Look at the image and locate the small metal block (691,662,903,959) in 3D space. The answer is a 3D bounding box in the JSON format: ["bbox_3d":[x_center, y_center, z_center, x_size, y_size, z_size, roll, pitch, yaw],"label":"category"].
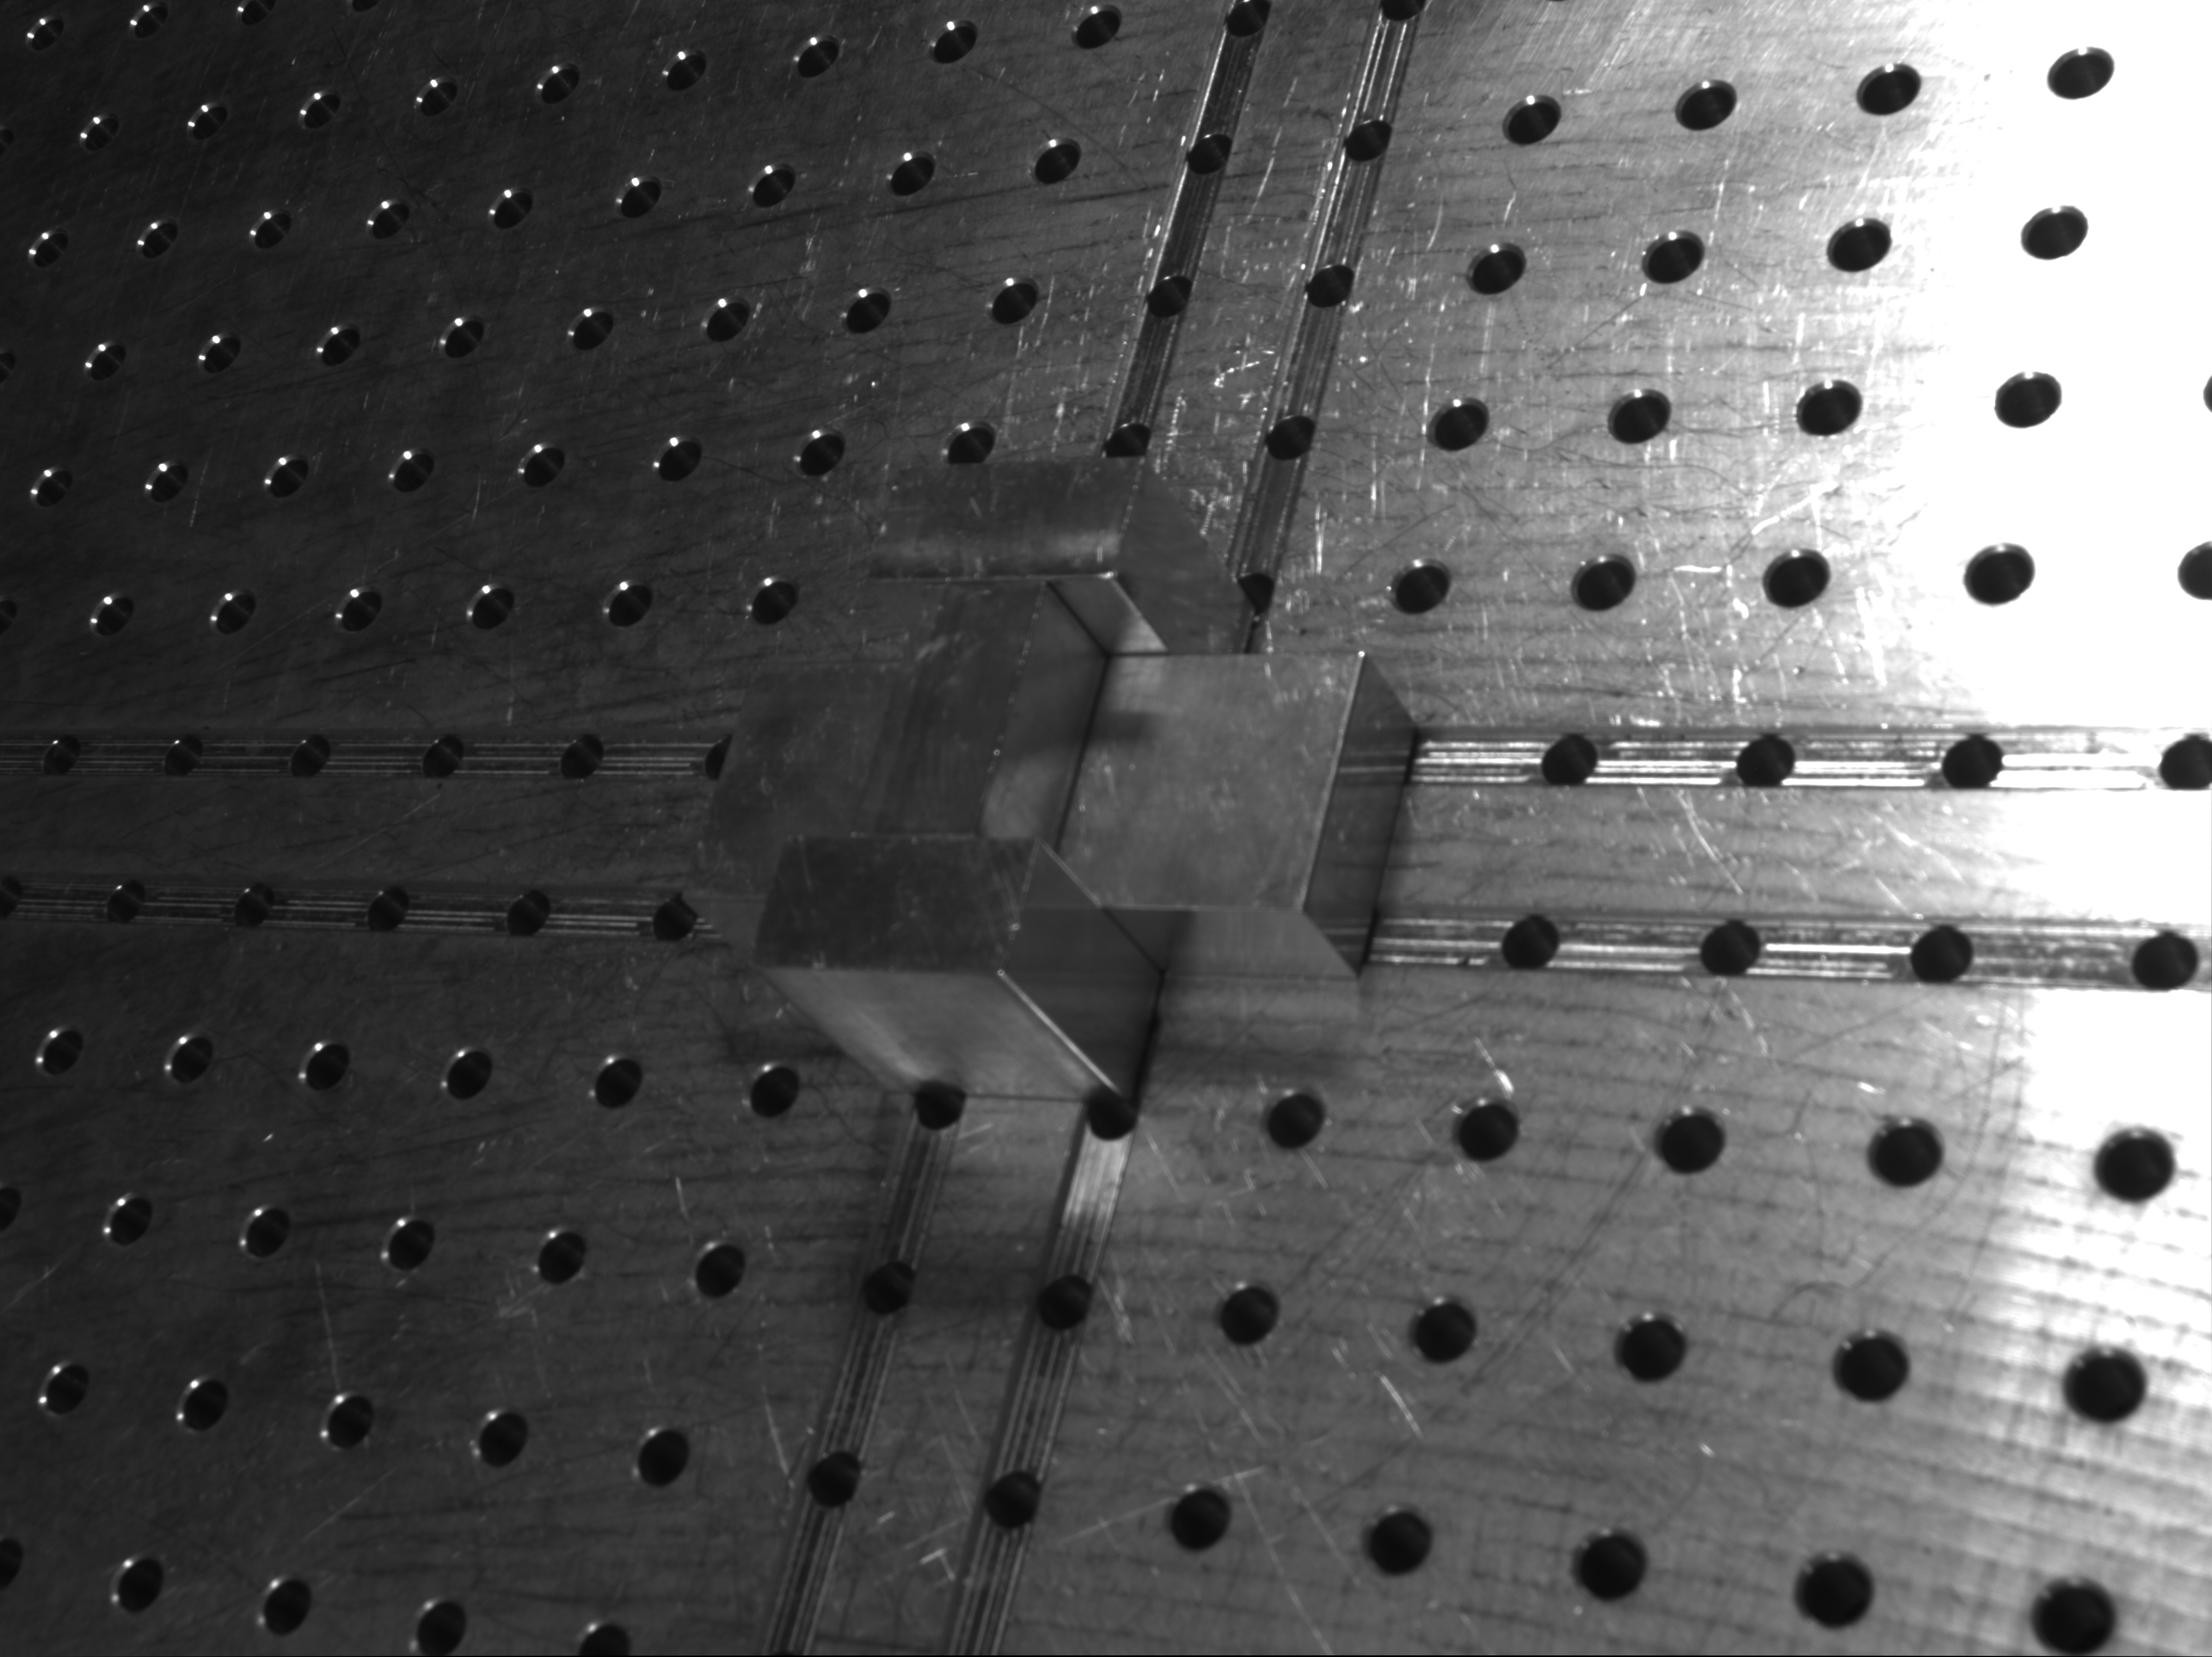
[{"bbox_3d":[-0.042,-0.003,0.671,0.050,0.025,0.050,0,62,29],"label":"small metal block"}]

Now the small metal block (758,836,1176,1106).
[{"bbox_3d":[-0.023,0.025,0.628,0.050,0.050,0.025,1,62,29],"label":"small metal block"}]

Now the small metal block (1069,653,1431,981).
[{"bbox_3d":[0.024,-0.002,0.636,0.050,0.025,0.050,1,62,29],"label":"small metal block"}]

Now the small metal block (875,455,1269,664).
[{"bbox_3d":[-0.005,-0.042,0.660,0.050,0.050,0.025,1,62,29],"label":"small metal block"}]

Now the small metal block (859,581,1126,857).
[{"bbox_3d":[-0.014,-0.009,0.644,0.025,0.050,0.050,1,62,29],"label":"small metal block"}]
